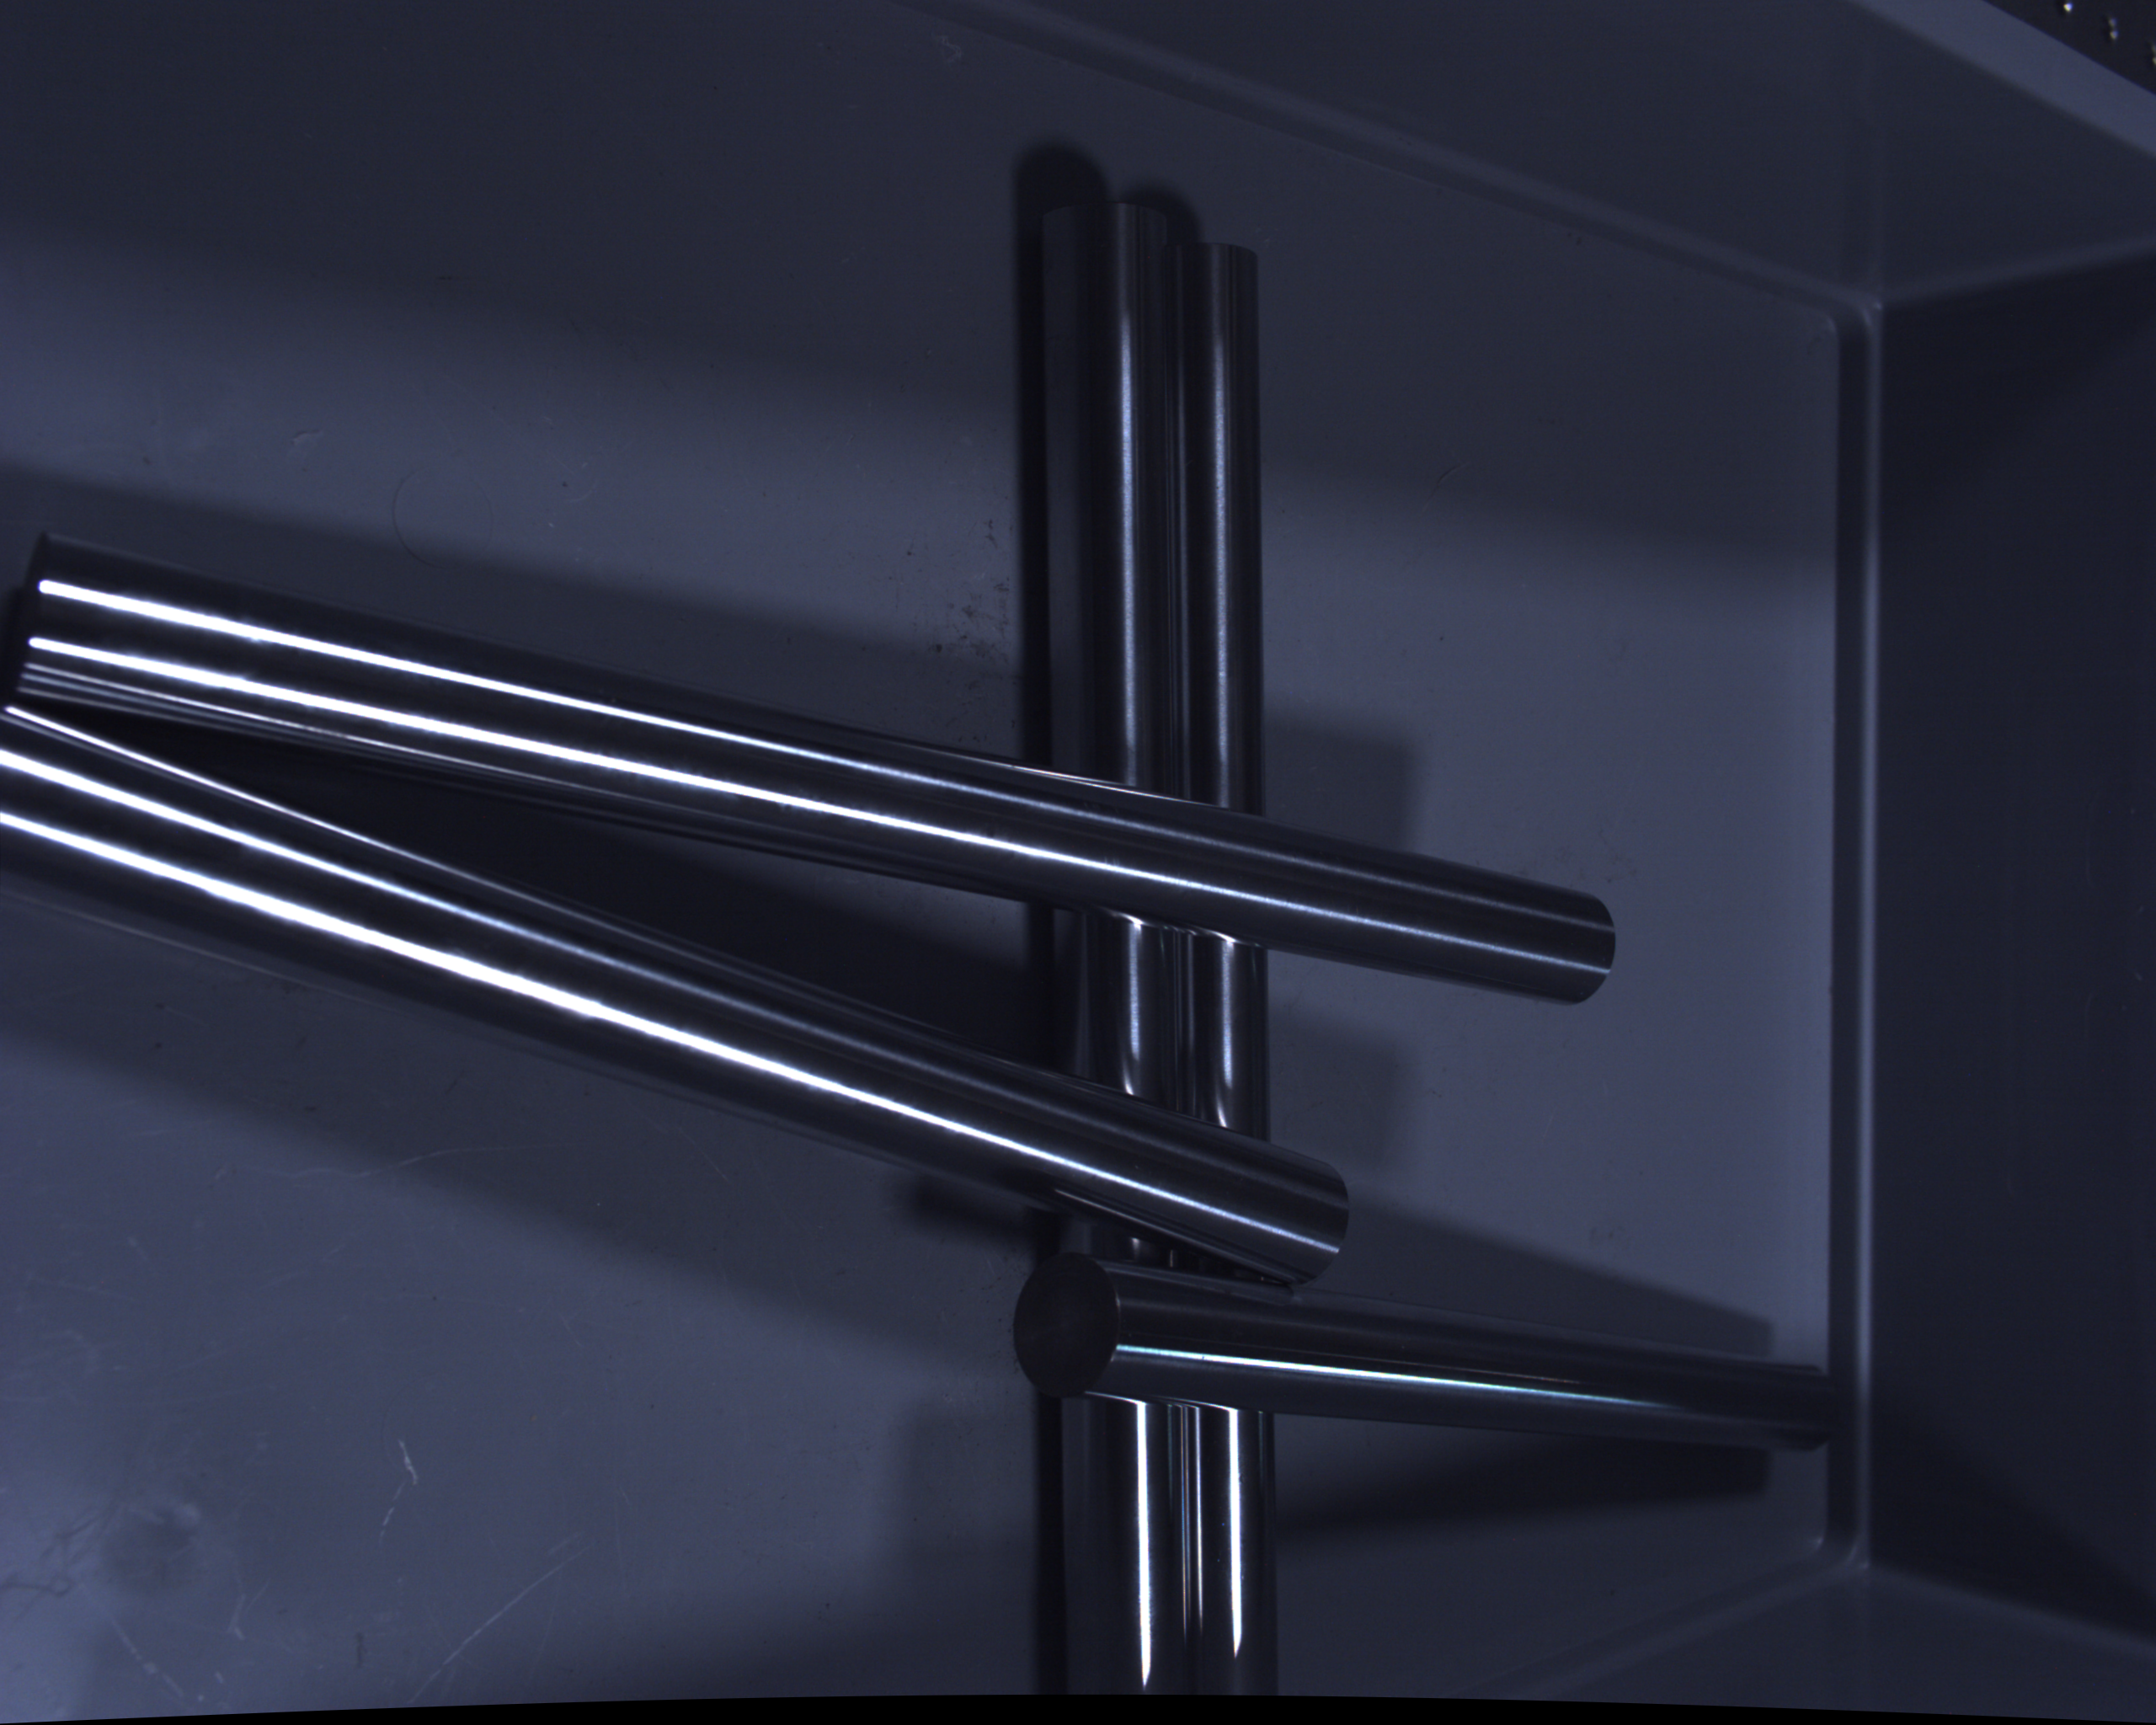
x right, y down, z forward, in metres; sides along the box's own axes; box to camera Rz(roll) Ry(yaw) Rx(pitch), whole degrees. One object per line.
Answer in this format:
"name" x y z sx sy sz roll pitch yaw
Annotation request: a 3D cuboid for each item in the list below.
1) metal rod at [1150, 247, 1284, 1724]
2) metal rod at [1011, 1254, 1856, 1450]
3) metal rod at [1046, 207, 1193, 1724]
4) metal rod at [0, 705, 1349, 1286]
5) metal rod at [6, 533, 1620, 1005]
"metal rod" 0.028 0.027 0.428 0.025 0.025 0.298 -1 91 -40
"metal rod" 0.100 0.115 0.469 0.302 0.025 0.025 19 78 -44
"metal rod" 0.008 0.024 0.412 0.025 0.025 0.298 -2 91 -40
"metal rod" -0.073 0.022 0.328 0.302 0.025 0.025 23 76 -32
"metal rod" -0.018 -0.007 0.366 0.302 0.025 0.025 12 83 -32
